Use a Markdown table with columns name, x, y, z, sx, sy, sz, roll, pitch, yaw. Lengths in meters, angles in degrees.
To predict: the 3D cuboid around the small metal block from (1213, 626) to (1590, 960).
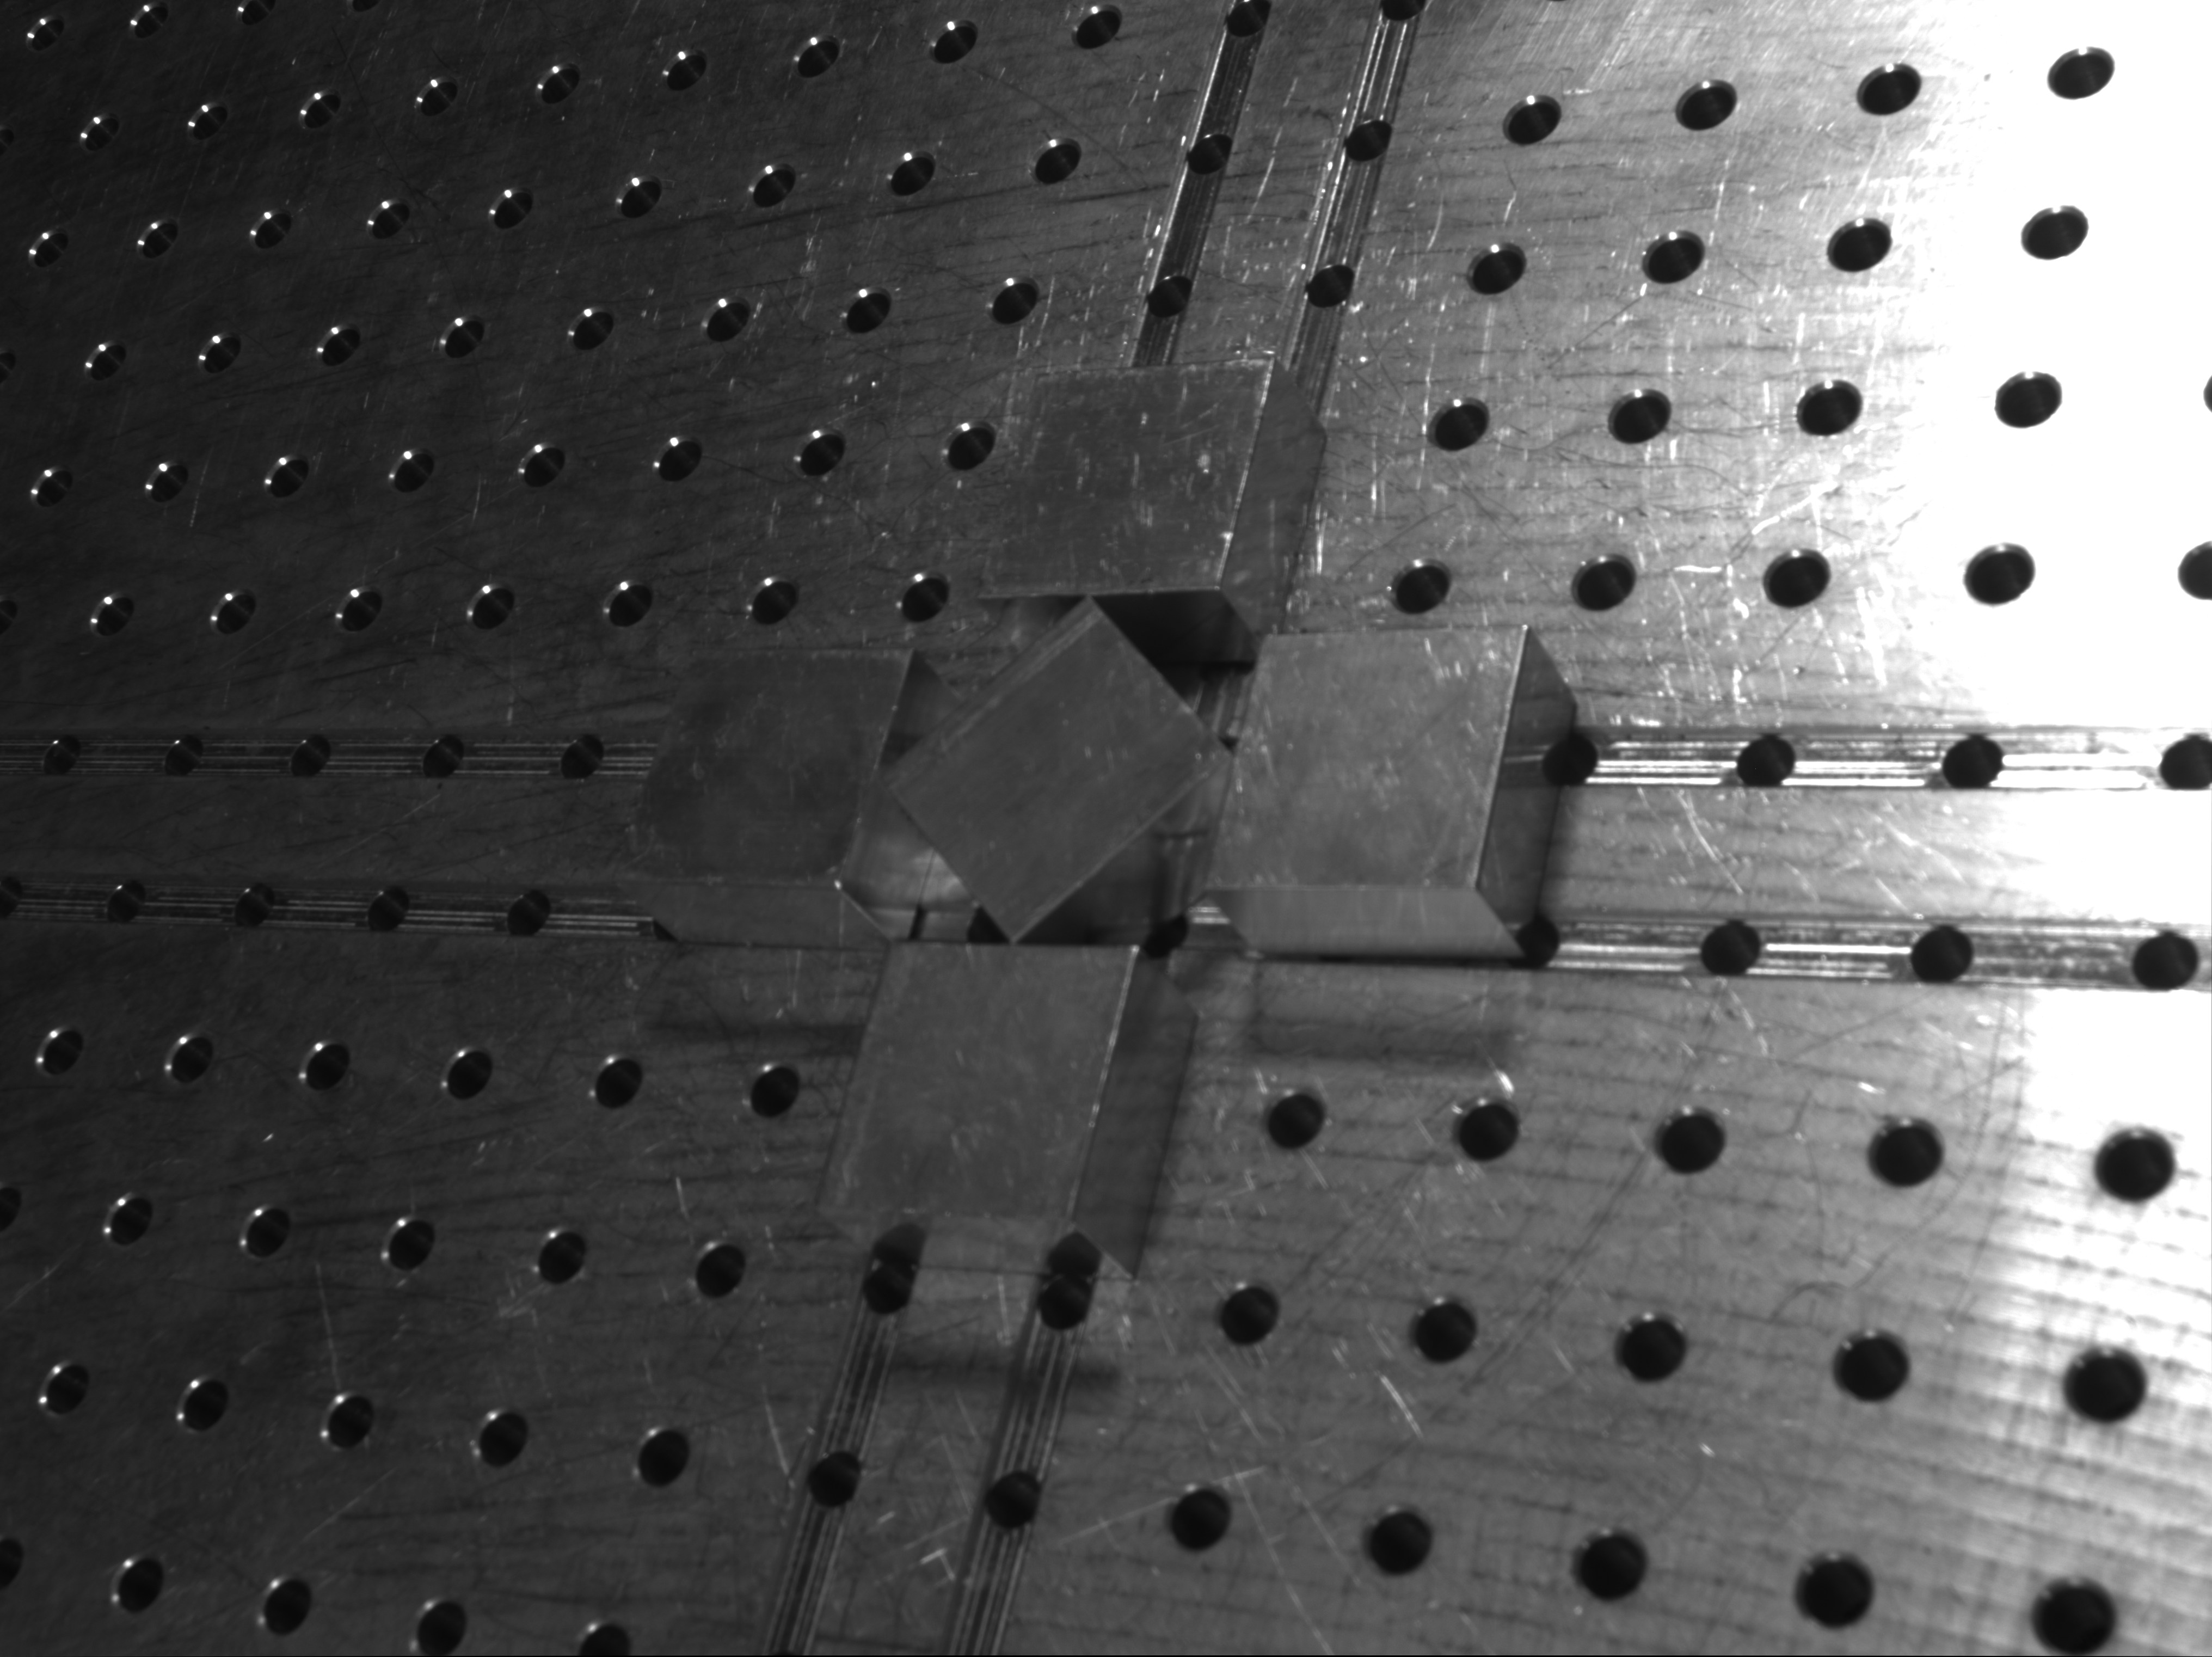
| name | x | y | z | sx | sy | sz | roll | pitch | yaw |
| --- | --- | --- | --- | --- | --- | --- | --- | --- | --- |
| small metal block | 0.051 | -0.006 | 0.624 | 0.050 | 0.025 | 0.050 | 0 | 61 | 28 |

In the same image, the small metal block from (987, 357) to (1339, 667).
| name | x | y | z | sx | sy | sz | roll | pitch | yaw |
| --- | --- | --- | --- | --- | --- | --- | --- | --- | --- |
| small metal block | 0.011 | -0.058 | 0.677 | 0.050 | 0.025 | 0.050 | -1 | 61 | 28 |

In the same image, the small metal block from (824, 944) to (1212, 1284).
| name | x | y | z | sx | sy | sz | roll | pitch | yaw |
| --- | --- | --- | --- | --- | --- | --- | --- | --- | --- |
| small metal block | -0.015 | 0.048 | 0.625 | 0.050 | 0.025 | 0.050 | 0 | 62 | 28 |

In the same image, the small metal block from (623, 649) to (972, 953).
| name | x | y | z | sx | sy | sz | roll | pitch | yaw |
| --- | --- | --- | --- | --- | --- | --- | --- | --- | --- |
| small metal block | -0.055 | -0.005 | 0.680 | 0.050 | 0.025 | 0.050 | 1 | 62 | 29 |

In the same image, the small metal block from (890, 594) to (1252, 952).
| name | x | y | z | sx | sy | sz | roll | pitch | yaw |
| --- | --- | --- | --- | --- | --- | --- | --- | --- | --- |
| small metal block | -0.002 | -0.005 | 0.651 | 0.050 | 0.025 | 0.050 | -41 | 51 | 0 |
